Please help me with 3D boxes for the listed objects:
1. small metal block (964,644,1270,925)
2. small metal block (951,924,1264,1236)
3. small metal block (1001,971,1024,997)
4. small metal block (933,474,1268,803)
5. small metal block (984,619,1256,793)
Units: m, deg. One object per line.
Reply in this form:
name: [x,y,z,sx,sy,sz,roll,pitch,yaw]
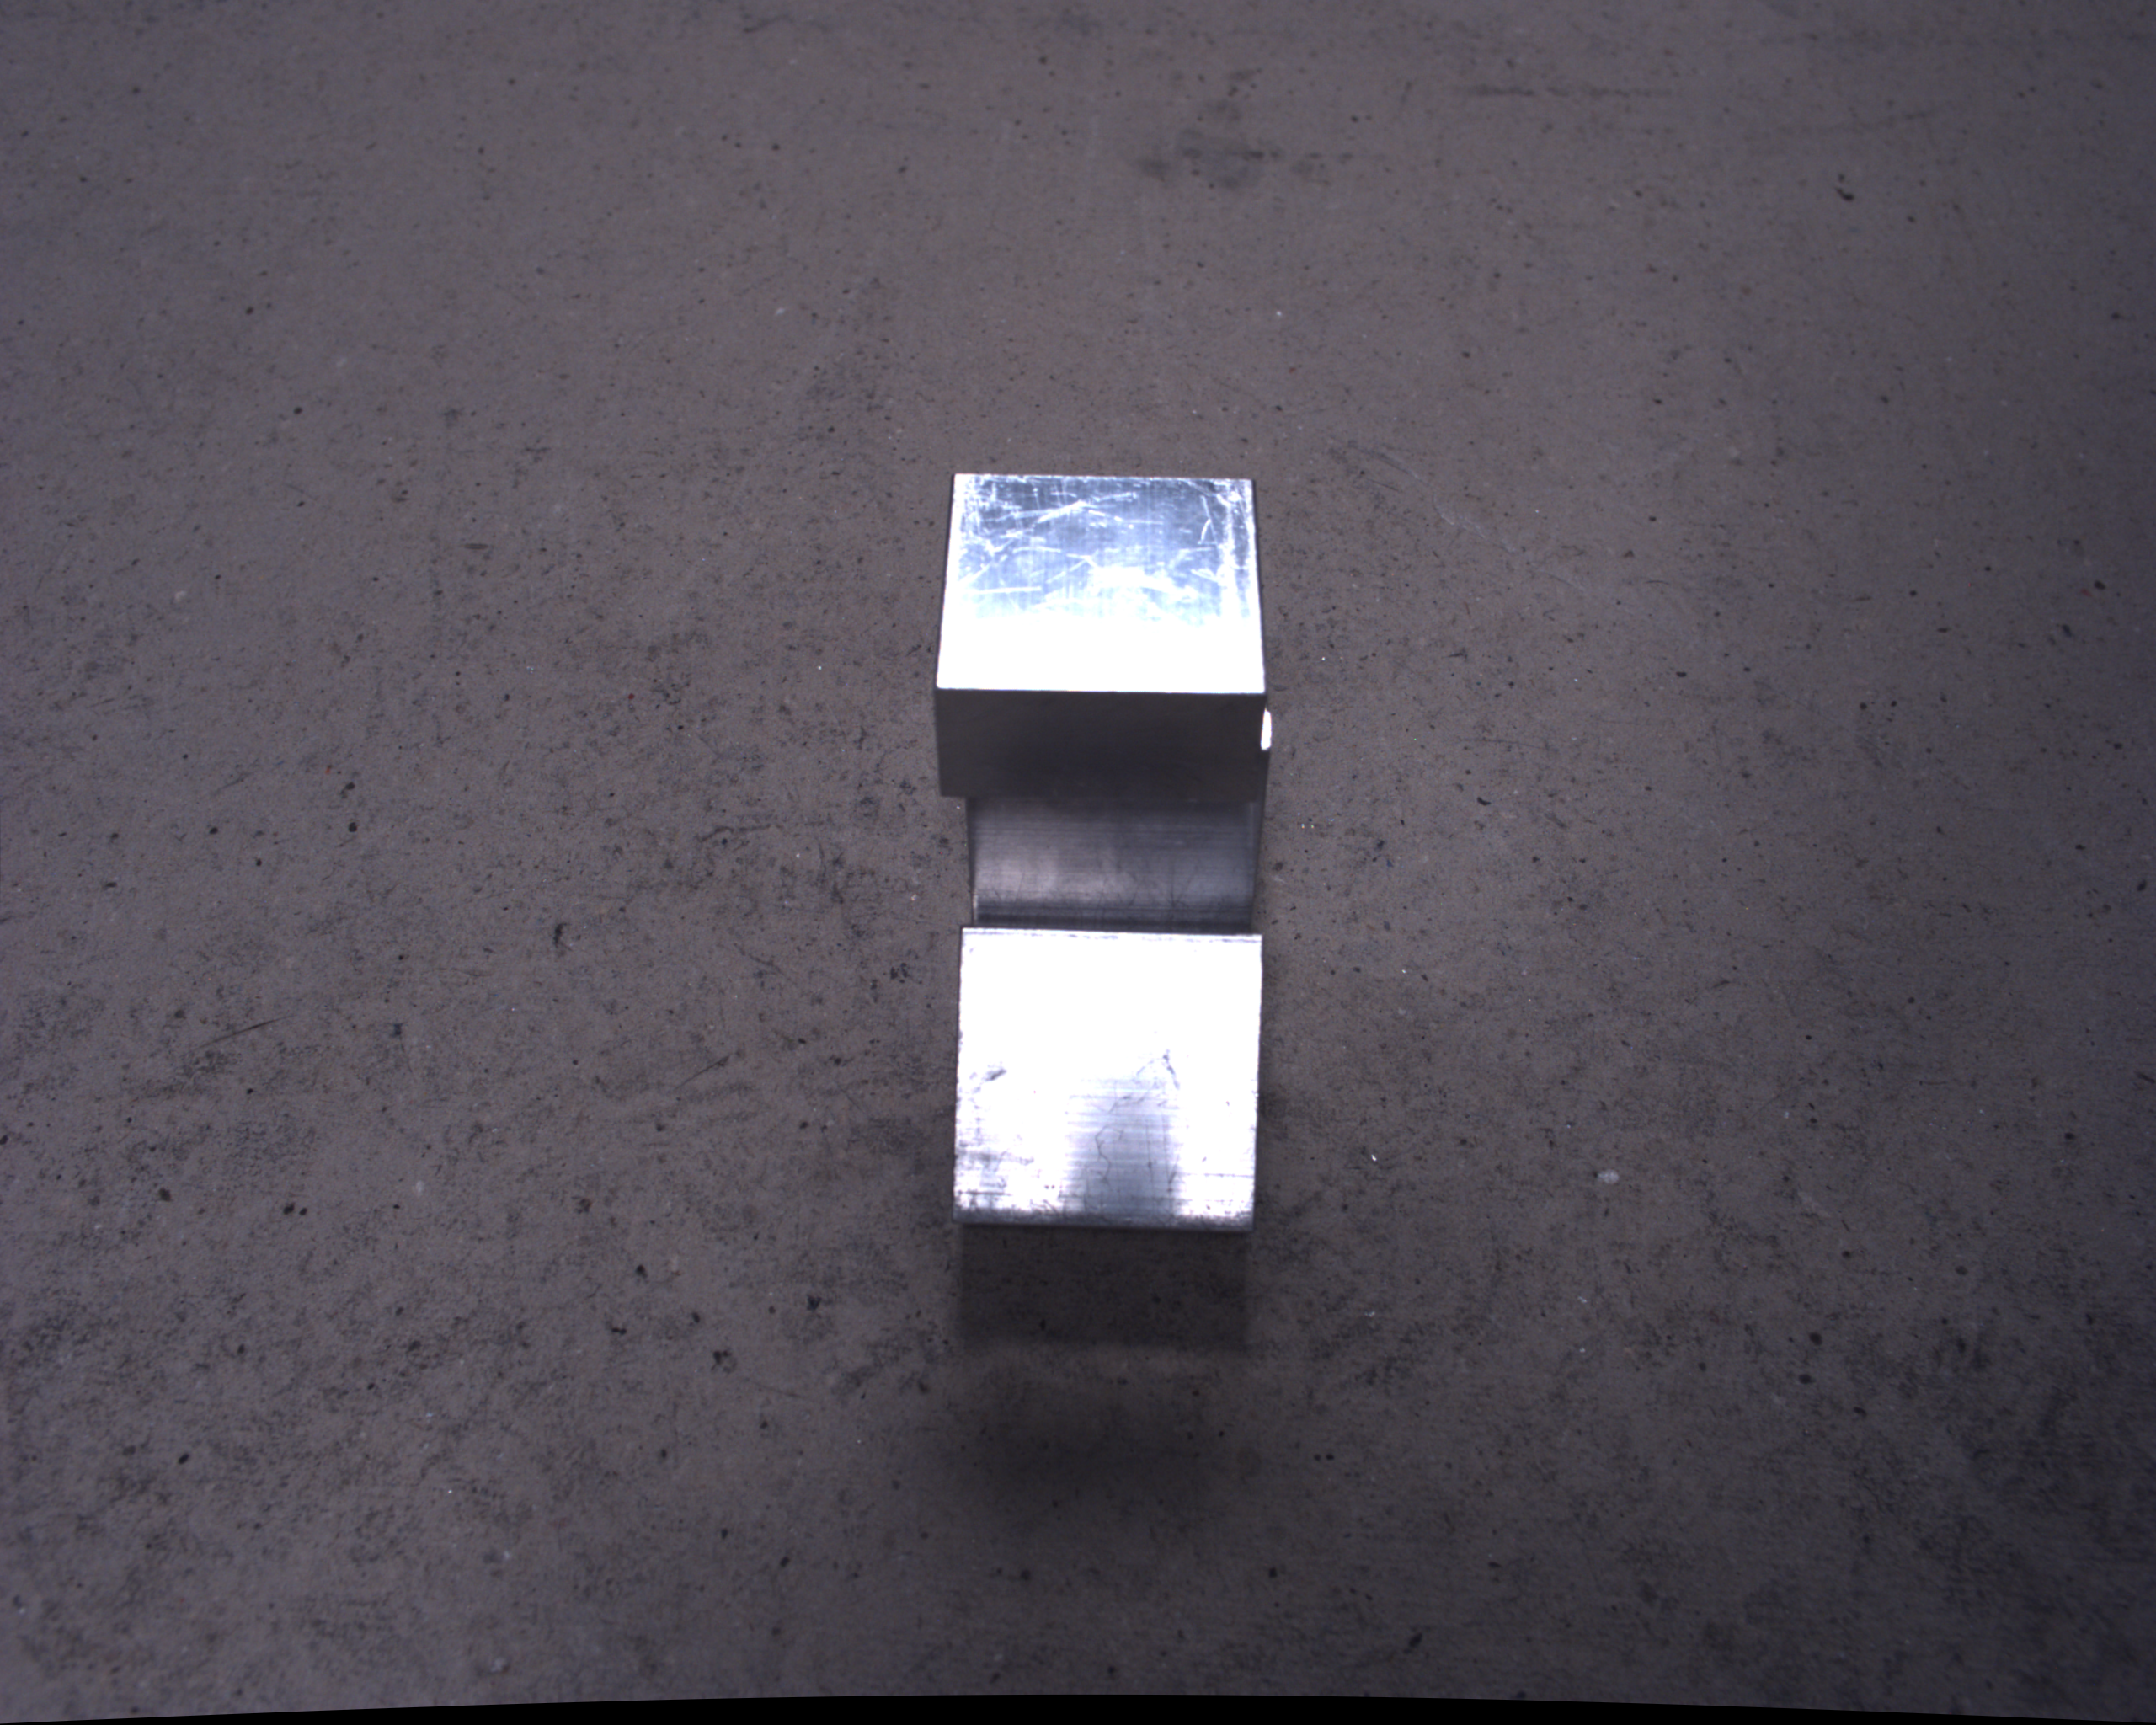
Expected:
small metal block: [0.006,-0.013,0.366,0.050,0.050,0.025,2,50,1]
small metal block: [0.005,0.036,0.358,0.050,0.025,0.050,2,91,1]
small metal block: [0.006,0.011,0.396,0.050,0.025,0.050,2,50,1]
small metal block: [0.004,-0.037,0.338,0.050,0.025,0.050,1,50,0]
small metal block: [0.009,-0.032,0.416,0.050,0.025,0.050,2,14,1]
